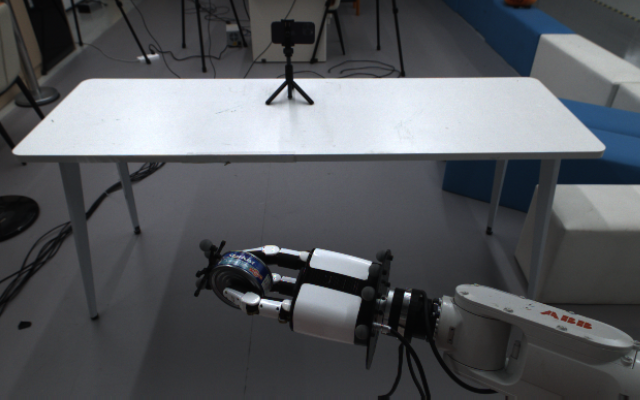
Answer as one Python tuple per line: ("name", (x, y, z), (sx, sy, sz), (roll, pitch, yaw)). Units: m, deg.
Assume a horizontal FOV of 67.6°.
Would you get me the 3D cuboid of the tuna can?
("tuna can", (-0.109, 0.112, 0.681), (0.085, 0.085, 0.034), (11, 35, 13))
